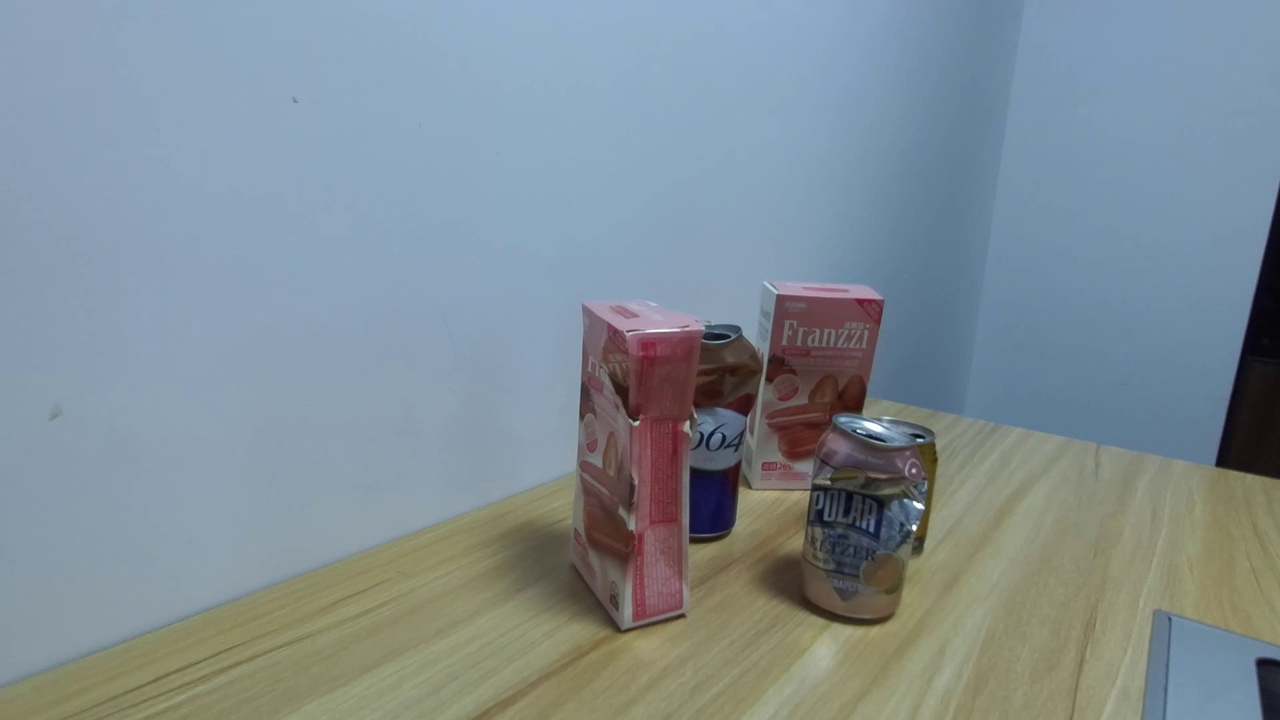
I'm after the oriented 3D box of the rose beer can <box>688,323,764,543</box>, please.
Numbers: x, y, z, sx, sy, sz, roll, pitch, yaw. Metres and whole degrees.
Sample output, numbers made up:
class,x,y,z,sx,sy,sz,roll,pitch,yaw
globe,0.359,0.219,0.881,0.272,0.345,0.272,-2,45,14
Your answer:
class,x,y,z,sx,sy,sz,roll,pitch,yaw
rose beer can,0.047,0.054,0.545,0.074,0.162,0.067,-10,19,-38

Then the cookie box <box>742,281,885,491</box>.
class,x,y,z,sx,sy,sz,roll,pitch,yaw
cookie box,0.156,0.027,0.633,0.105,0.187,0.049,2,20,-5

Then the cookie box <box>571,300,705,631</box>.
class,x,y,z,sx,sy,sz,roll,pitch,yaw
cookie box,-0.003,0.061,0.444,0.059,0.186,0.104,-4,15,-21

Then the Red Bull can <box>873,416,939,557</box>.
class,x,y,z,sx,sy,sz,roll,pitch,yaw
Red Bull can,0.194,0.098,0.551,0.069,0.092,0.069,4,13,-1

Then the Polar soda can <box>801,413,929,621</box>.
class,x,y,z,sx,sy,sz,roll,pitch,yaw
Polar soda can,0.144,0.101,0.453,0.070,0.121,0.067,10,8,26
